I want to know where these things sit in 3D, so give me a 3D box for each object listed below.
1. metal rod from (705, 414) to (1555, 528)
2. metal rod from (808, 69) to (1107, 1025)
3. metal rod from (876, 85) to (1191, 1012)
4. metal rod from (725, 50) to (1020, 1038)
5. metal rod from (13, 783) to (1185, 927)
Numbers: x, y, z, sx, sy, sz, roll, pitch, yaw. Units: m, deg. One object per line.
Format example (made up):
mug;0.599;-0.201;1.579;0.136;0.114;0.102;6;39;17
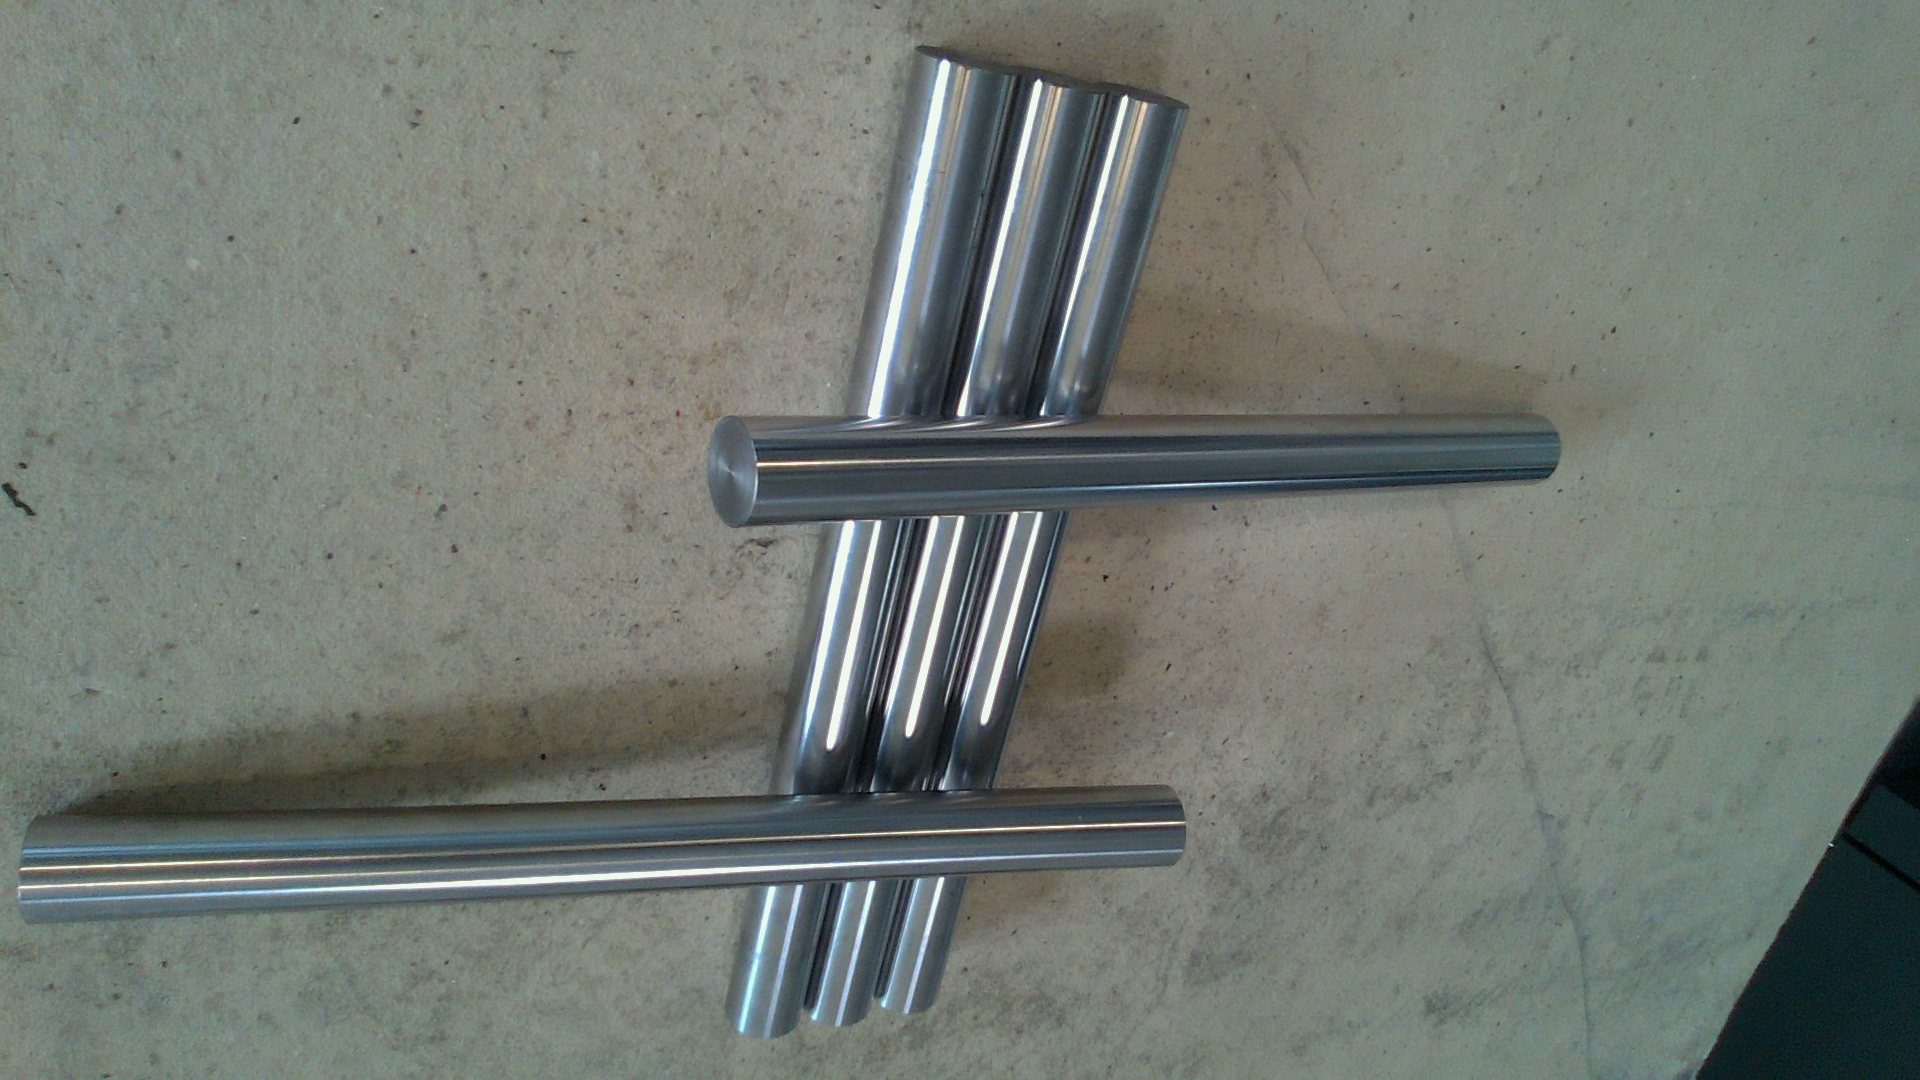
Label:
metal rod;0.072;-0.023;0.389;0.301;0.025;0.025;-4;120;-35
metal rod;-0.009;0.021;0.396;0.025;0.025;0.300;0;119;-28
metal rod;0.013;0.020;0.408;0.025;0.025;0.300;0;118;-28
metal rod;-0.031;0.020;0.384;0.025;0.025;0.300;0;118;-28
metal rod;-0.076;0.083;0.374;0.301;0.025;0.025;2;118;-21
